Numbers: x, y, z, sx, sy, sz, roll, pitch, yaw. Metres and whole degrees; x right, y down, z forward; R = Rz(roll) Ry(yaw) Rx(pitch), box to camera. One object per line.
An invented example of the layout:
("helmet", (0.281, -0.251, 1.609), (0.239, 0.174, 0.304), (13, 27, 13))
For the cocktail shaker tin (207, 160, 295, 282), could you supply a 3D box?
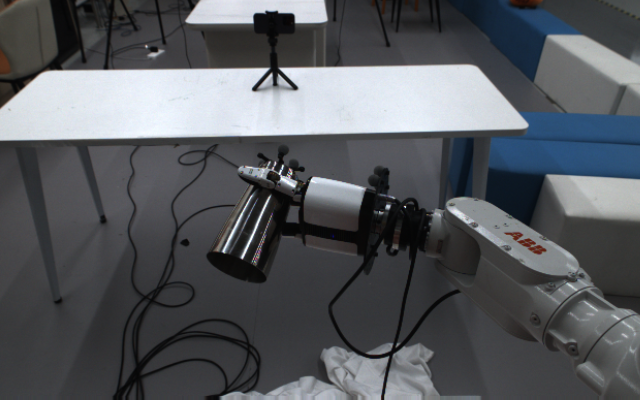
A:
("cocktail shaker tin", (-0.092, 0.024, 0.723), (0.093, 0.093, 0.170), (13, 59, 16))
